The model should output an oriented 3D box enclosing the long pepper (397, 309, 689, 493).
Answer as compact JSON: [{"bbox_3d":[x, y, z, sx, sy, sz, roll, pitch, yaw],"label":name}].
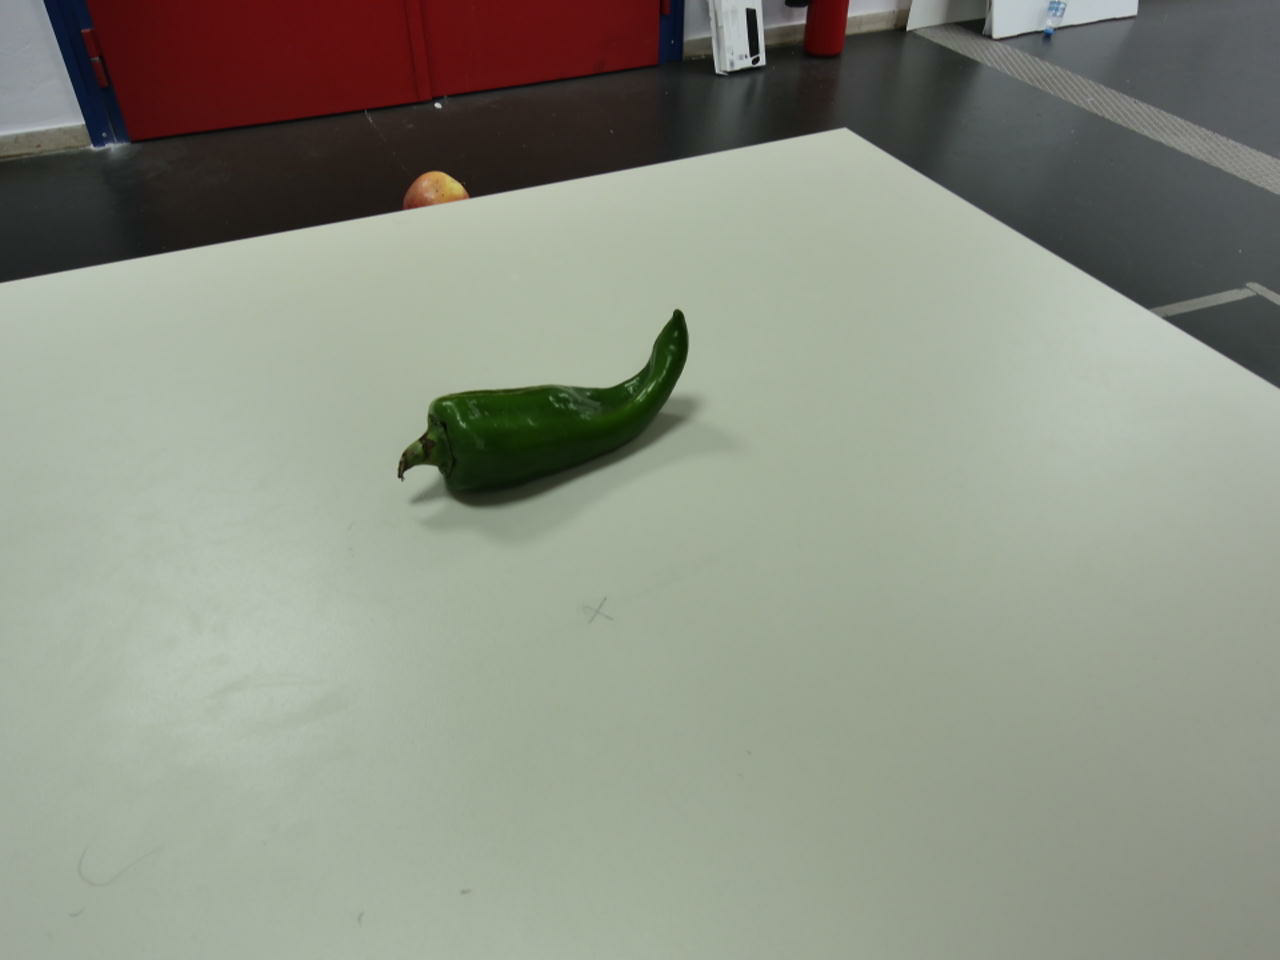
[{"bbox_3d":[-0.046,-0.039,0.532,0.175,0.065,0.058,-17,42,-21],"label":"long pepper"}]
